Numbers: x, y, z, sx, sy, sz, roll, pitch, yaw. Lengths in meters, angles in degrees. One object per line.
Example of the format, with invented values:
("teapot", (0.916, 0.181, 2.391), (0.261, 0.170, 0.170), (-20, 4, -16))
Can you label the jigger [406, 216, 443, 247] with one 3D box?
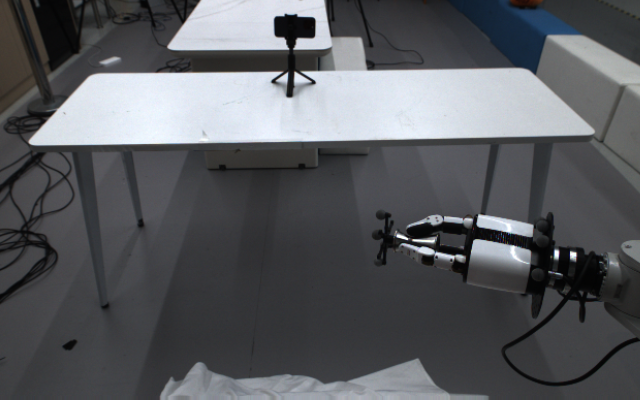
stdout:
("jigger", (0.162, 0.067, 0.781), (0.071, 0.043, 0.043), (6, 34, 20))
